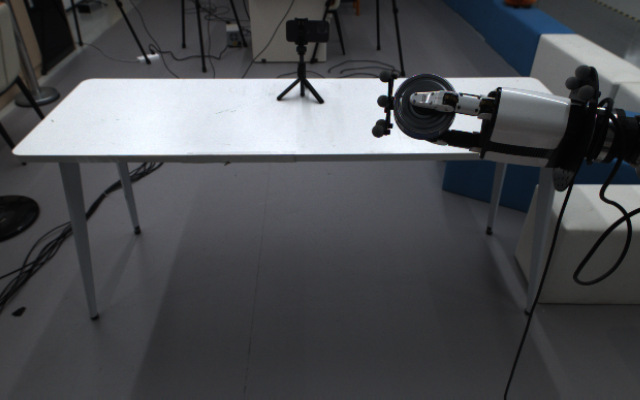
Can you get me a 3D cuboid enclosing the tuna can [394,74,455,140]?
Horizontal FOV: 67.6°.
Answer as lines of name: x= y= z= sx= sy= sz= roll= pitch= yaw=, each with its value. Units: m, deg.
tuna can: x=0.146 y=-0.130 z=0.663 sx=0.085 sy=0.085 sz=0.034 roll=9 pitch=-7 yaw=10
